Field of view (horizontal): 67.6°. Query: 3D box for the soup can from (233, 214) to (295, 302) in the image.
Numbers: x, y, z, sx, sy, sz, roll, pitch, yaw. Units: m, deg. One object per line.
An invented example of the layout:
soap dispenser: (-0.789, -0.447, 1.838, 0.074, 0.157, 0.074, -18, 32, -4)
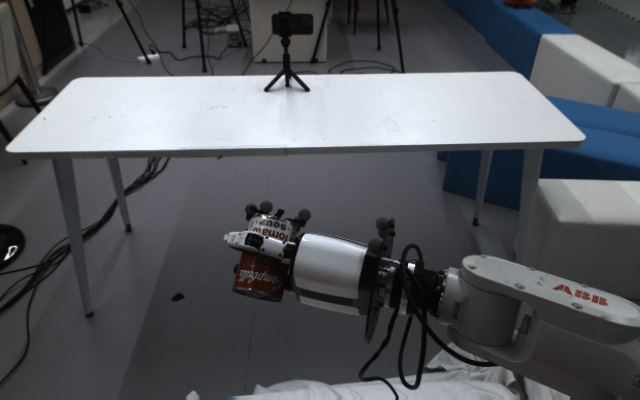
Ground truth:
soup can: (-0.071, 0.078, 0.641, 0.067, 0.067, 0.101, 9, 71, 9)
